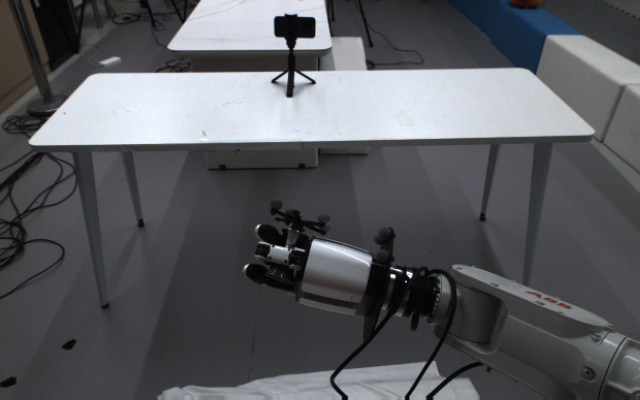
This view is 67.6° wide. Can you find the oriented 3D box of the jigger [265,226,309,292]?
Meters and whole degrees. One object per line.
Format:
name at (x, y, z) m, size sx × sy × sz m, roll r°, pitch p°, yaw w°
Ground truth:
jigger at (-0.042, 0.077, 0.668) m, size 0.043 × 0.043 × 0.071 m, roll 12°, pitch 71°, yaw 14°
